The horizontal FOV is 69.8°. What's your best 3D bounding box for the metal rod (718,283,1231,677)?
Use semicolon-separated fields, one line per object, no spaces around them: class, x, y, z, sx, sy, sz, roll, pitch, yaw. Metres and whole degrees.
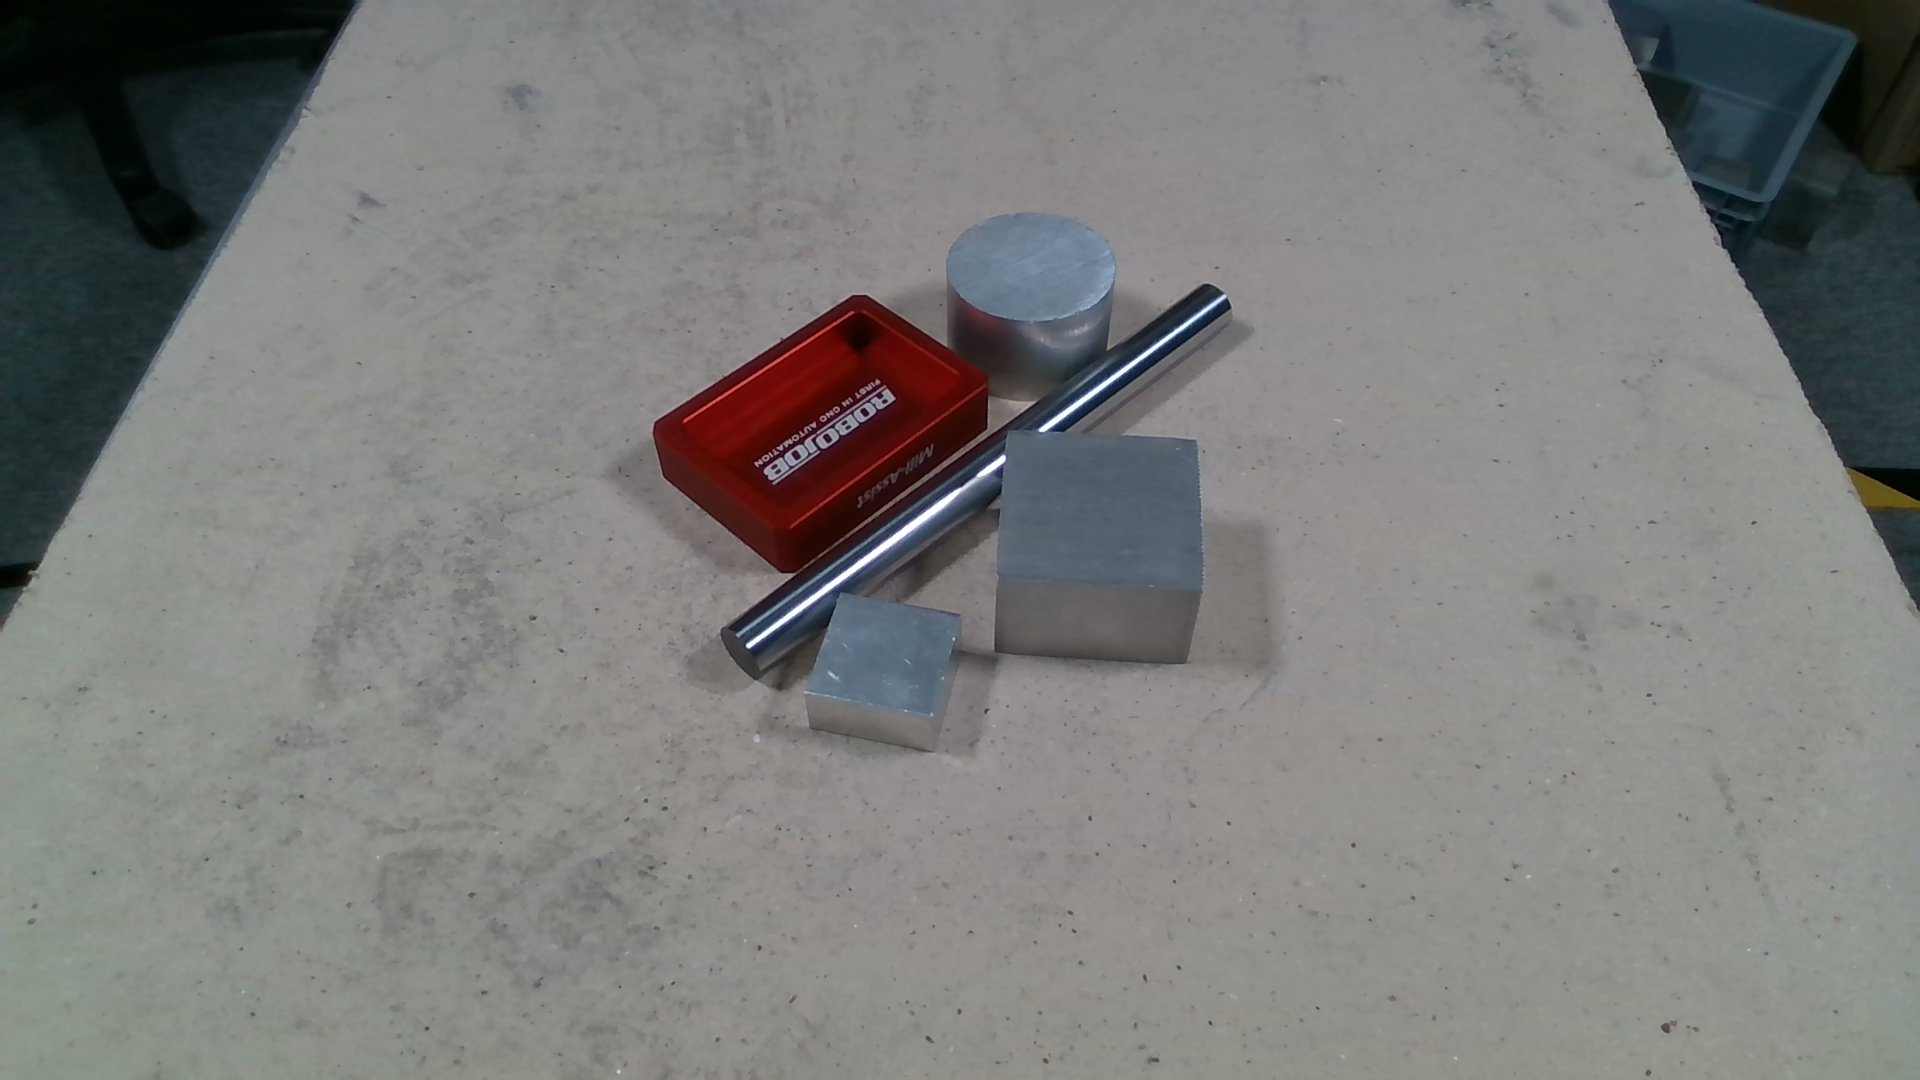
metal rod;0.018;-0.036;0.616;0.300;0.025;0.025;-37;59;-27

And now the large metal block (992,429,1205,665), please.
large metal block;0.056;0.002;0.569;0.080;0.050;0.080;3;50;3

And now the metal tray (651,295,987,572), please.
metal tray;-0.062;-0.052;0.628;0.090;0.030;0.130;37;59;26

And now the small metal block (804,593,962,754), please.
small metal block;-0.029;0.052;0.544;0.050;0.025;0.050;10;51;8

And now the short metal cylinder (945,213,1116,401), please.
short metal cylinder;0.033;-0.113;0.665;0.080;0.050;0.080;0;50;0
